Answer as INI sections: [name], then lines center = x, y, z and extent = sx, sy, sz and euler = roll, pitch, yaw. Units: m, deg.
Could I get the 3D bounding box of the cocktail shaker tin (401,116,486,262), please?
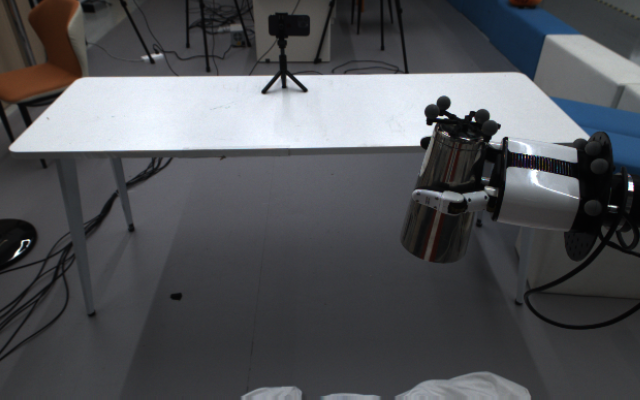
[cocktail shaker tin]
center = 0.165, -0.014, 0.628
extent = 0.093, 0.170, 0.093
euler = 4, 32, -2
